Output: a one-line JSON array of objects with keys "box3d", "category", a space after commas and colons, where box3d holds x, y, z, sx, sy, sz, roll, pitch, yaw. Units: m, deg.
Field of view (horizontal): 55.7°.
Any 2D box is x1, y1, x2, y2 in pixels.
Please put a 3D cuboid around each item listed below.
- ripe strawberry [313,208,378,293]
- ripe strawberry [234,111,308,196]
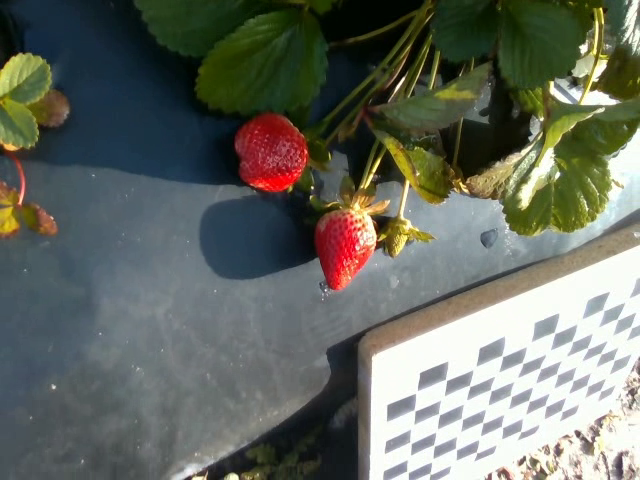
[{"box3d": [0.015, 0.007, 0.344, 0.038, 0.053, 0.043, -6, -22, 45], "category": "ripe strawberry"}, {"box3d": [-0.027, -0.046, 0.326, 0.039, 0.048, 0.054, 32, 35, 28], "category": "ripe strawberry"}]
